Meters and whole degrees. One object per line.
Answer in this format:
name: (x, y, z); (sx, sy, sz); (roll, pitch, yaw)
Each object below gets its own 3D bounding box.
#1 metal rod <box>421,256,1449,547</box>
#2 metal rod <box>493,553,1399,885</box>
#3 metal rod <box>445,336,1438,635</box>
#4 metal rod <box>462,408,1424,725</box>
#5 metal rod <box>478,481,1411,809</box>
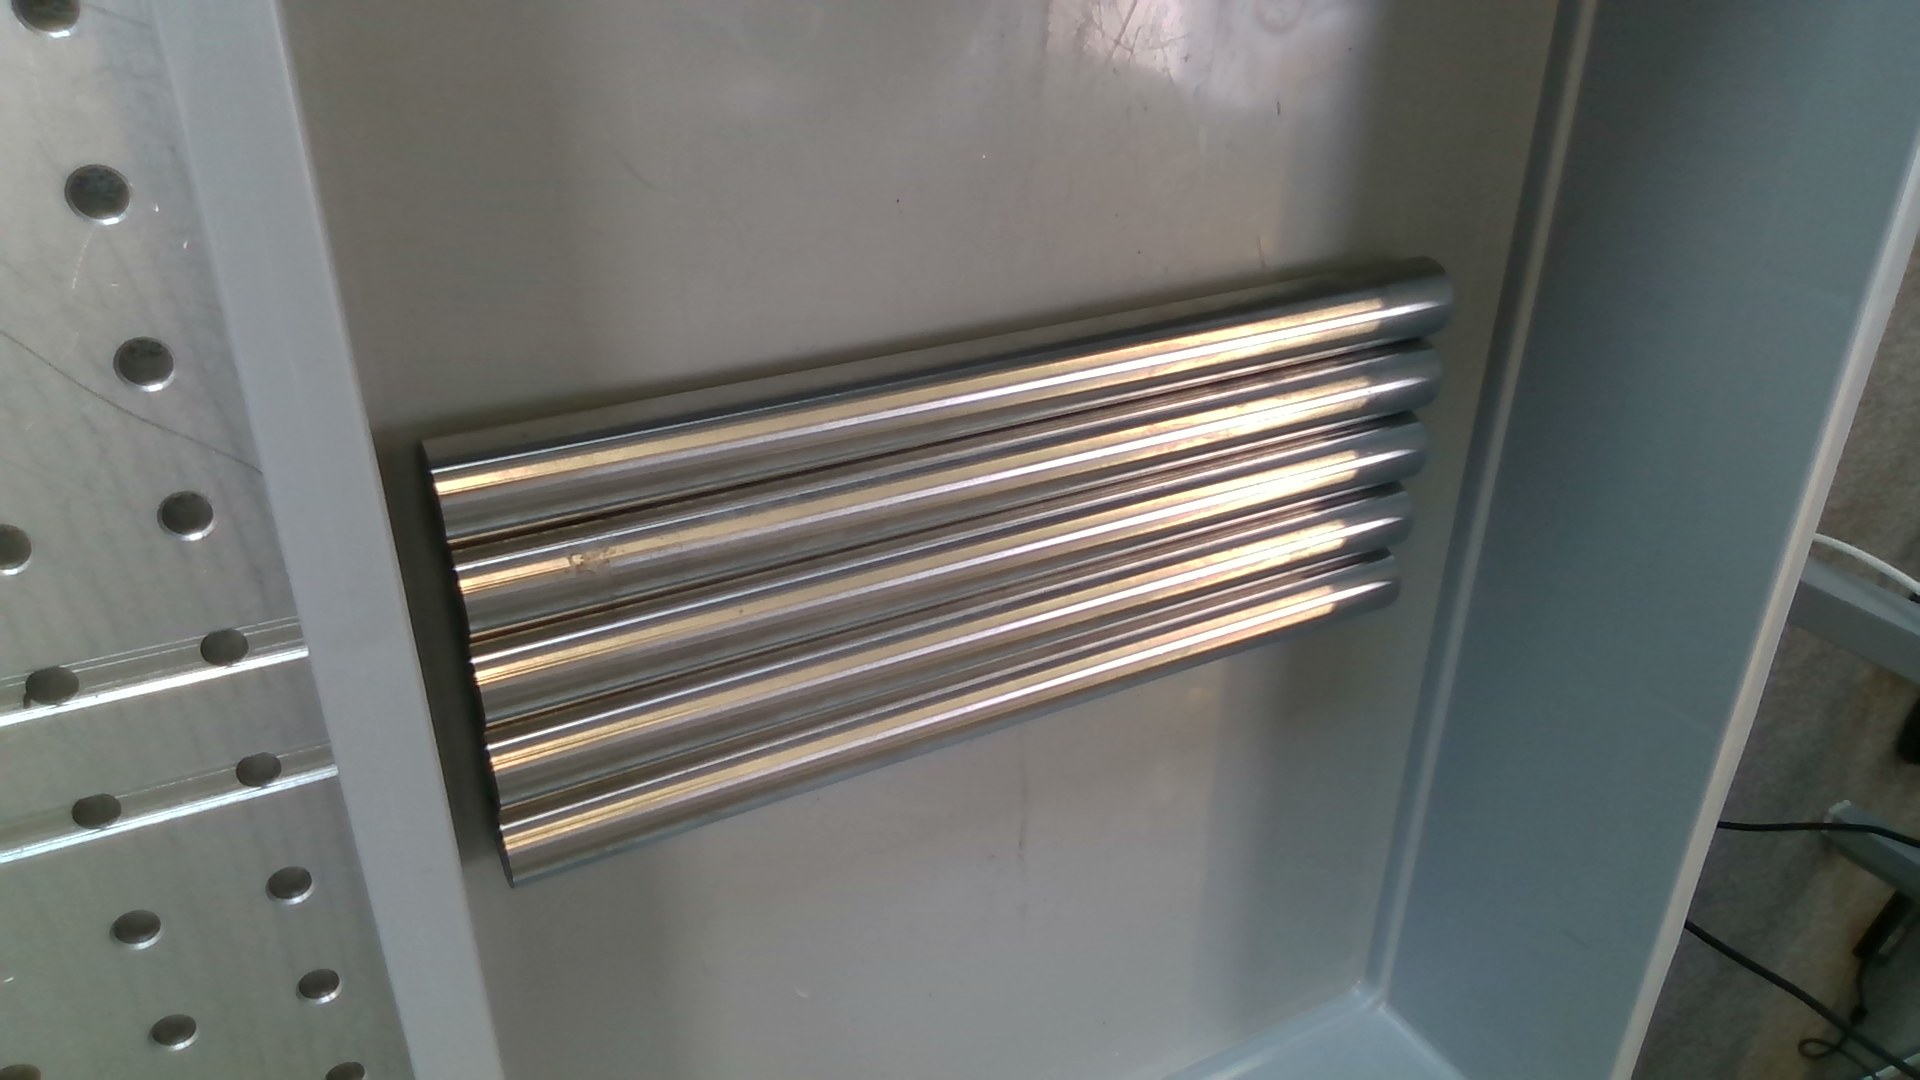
metal rod: (0.013, -0.044, 0.373); (0.300, 0.025, 0.025); (-14, 121, -25)
metal rod: (0.013, 0.044, 0.421); (0.300, 0.025, 0.025); (-14, 121, -25)
metal rod: (0.014, -0.023, 0.385); (0.300, 0.025, 0.025); (-14, 121, -25)
metal rod: (0.014, -0.001, 0.397); (0.300, 0.025, 0.025); (-14, 121, -25)
metal rod: (0.014, 0.022, 0.409); (0.300, 0.025, 0.025); (-14, 121, -25)
